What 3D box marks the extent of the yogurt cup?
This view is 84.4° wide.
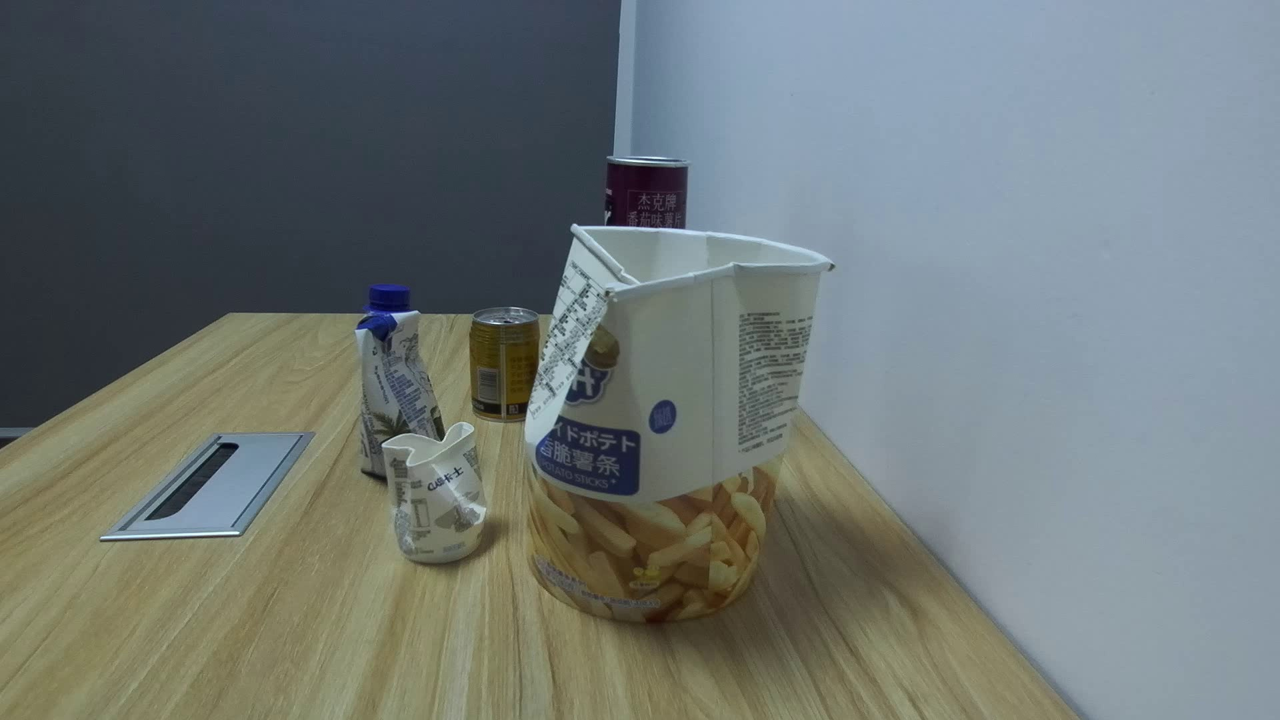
[{"bbox_3d":[-0.128,0.083,0.447,0.055,0.072,0.055,-12,23,-35],"label":"yogurt cup"}]

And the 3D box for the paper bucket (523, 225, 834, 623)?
[{"bbox_3d":[0.002,0.027,0.431,0.170,0.202,0.162,-9,20,-37],"label":"paper bucket"}]

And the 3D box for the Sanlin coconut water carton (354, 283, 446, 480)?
[{"bbox_3d":[-0.190,0.019,0.527,0.056,0.145,0.068,2,23,27],"label":"Sanlin coconut water carton"}]
